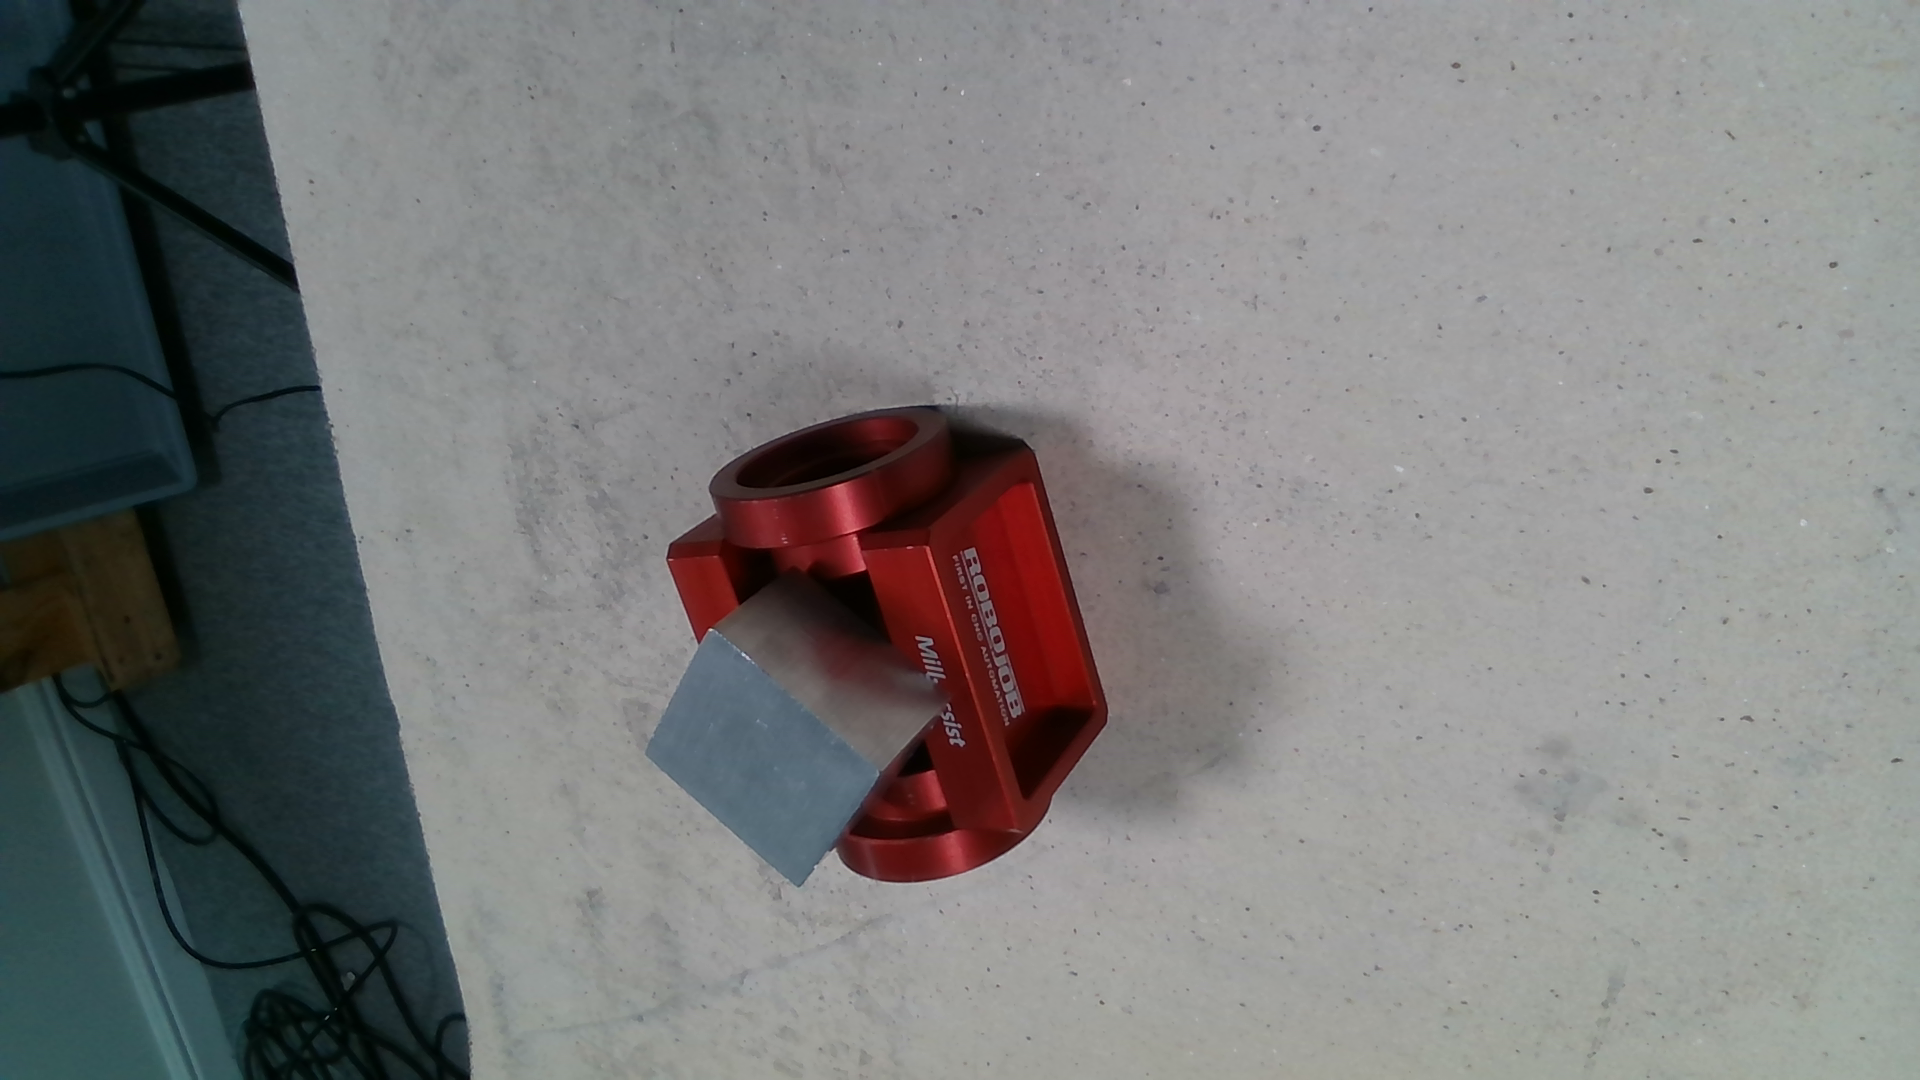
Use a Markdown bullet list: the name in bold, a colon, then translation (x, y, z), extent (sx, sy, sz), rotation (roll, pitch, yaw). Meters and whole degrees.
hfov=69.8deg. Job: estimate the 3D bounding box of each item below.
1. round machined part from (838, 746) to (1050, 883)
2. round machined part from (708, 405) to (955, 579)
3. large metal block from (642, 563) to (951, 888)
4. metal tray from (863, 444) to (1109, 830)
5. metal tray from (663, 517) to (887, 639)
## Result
- **round machined part**: translation (-0.013, 0.102, 0.596), extent (0.098, 0.098, 0.042), rotation (-1, 114, 32)
- **round machined part**: translation (-0.048, -0.017, 0.553), extent (0.098, 0.098, 0.042), rotation (-1, 114, 32)
- **large metal block**: translation (-0.063, 0.070, 0.522), extent (0.080, 0.050, 0.080), rotation (39, 129, 7)
- **metal tray**: translation (0.015, 0.038, 0.551), extent (0.030, 0.090, 0.130), rotation (-4, 113, 33)
- **metal tray**: translation (-0.070, 0.043, 0.603), extent (0.030, 0.090, 0.130), rotation (-4, 113, 33)
